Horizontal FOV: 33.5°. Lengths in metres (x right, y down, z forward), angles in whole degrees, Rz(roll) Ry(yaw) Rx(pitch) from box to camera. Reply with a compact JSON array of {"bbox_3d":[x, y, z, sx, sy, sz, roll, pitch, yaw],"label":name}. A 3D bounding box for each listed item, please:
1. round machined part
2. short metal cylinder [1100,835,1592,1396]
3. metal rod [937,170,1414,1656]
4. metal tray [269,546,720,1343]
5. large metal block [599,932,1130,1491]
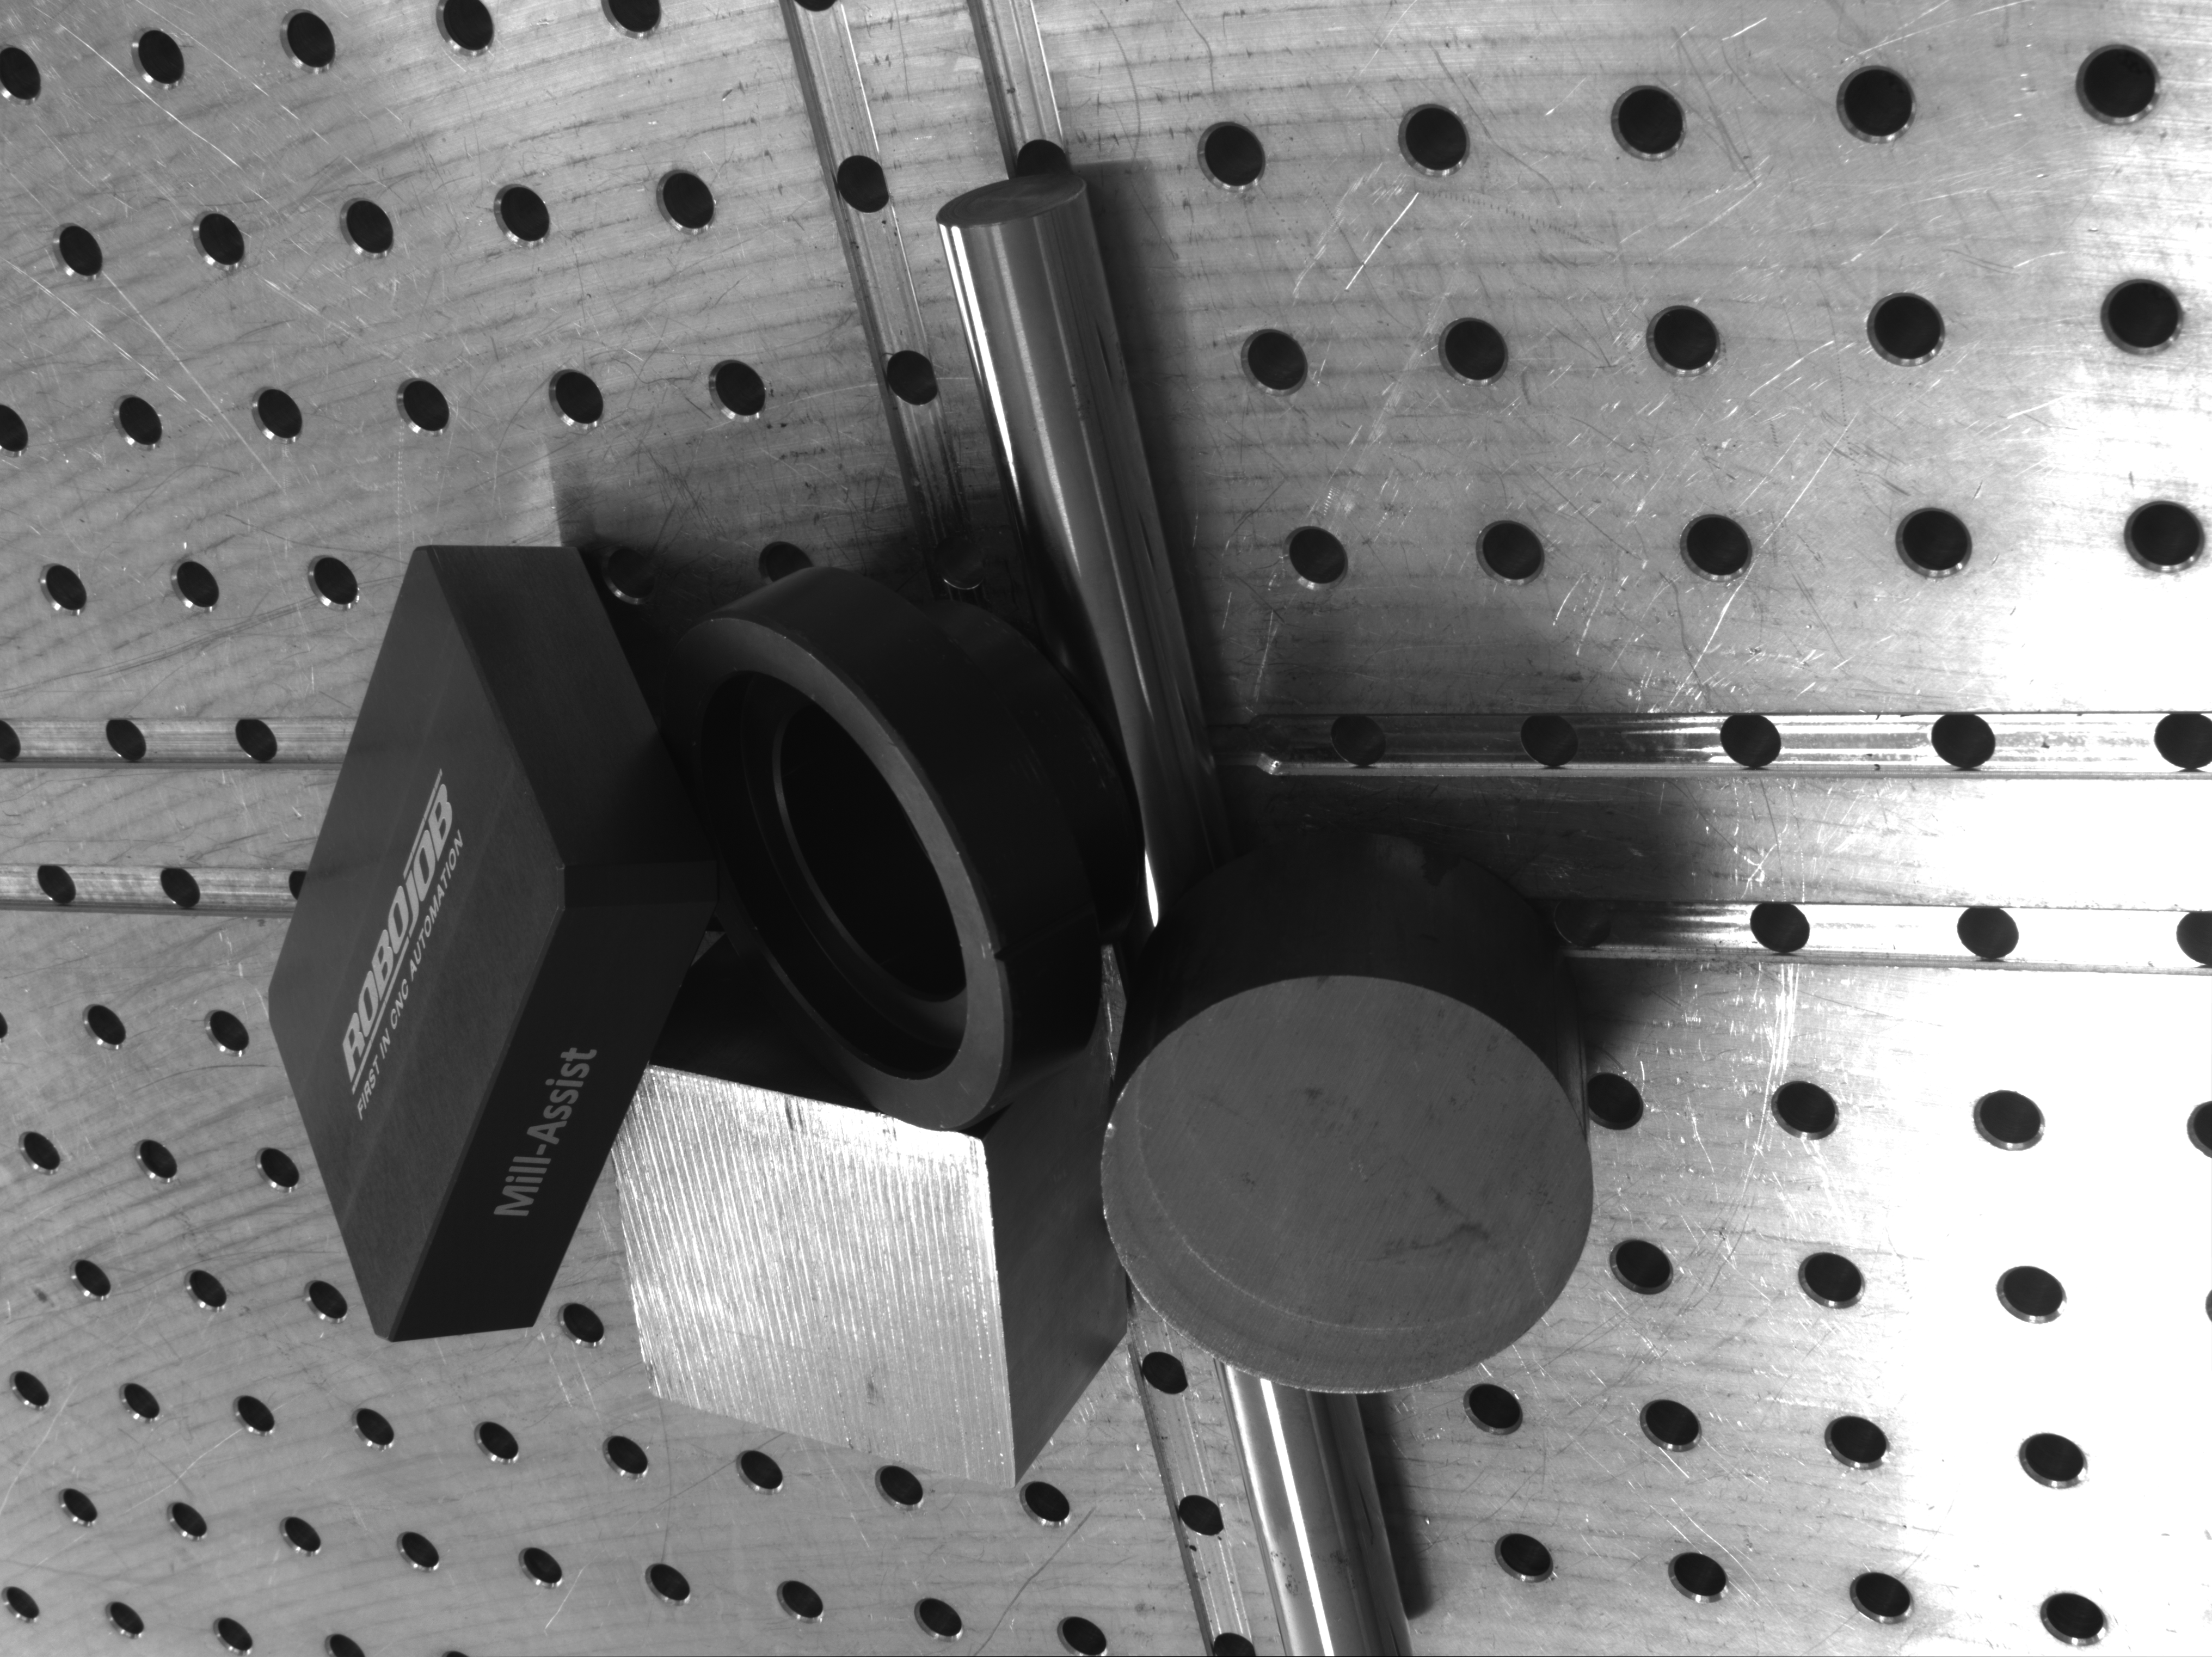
[{"bbox_3d":[-0.032,0.000,0.636,0.098,0.042,0.098,37,142,36],"label":"round machined part"},{"bbox_3d":[0.041,0.048,0.620,0.080,0.050,0.080,2,117,5],"label":"short metal cylinder"},{"bbox_3d":[0.017,0.030,0.656,0.025,0.025,0.300,1,119,28],"label":"metal rod"},{"bbox_3d":[-0.118,0.022,0.688,0.090,0.030,0.130,62,140,35],"label":"metal tray"},{"bbox_3d":[-0.045,0.070,0.697,0.080,0.050,0.080,10,123,23],"label":"large metal block"}]
